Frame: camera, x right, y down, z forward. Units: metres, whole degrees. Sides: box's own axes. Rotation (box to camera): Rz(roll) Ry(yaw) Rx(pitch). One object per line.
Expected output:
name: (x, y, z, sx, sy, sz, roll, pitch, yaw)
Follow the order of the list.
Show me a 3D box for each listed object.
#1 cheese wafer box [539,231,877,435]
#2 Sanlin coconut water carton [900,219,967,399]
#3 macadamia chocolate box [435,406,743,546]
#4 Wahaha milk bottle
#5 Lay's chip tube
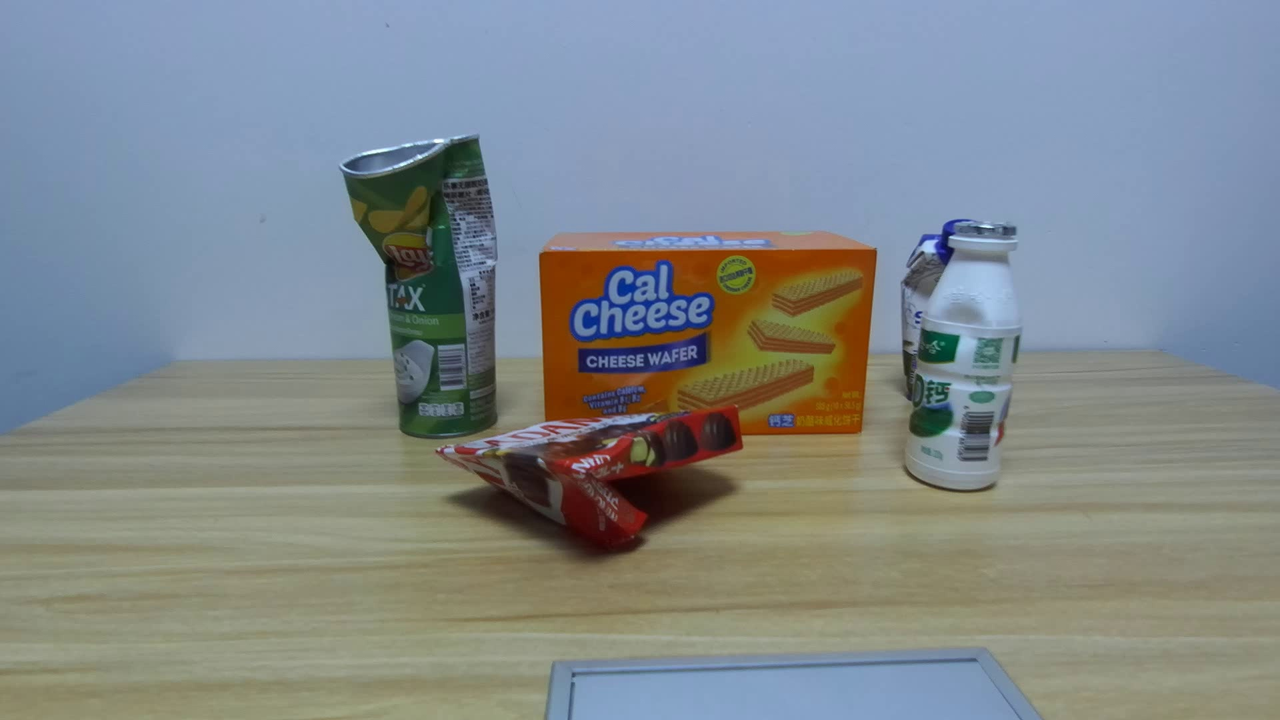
cheese wafer box: (0.044, -0.027, 0.532, 0.222, 0.129, 0.148, 0, 15, -2)
Sanlin coconut water carton: (0.233, -0.034, 0.523, 0.078, 0.142, 0.058, 4, 22, 16)
macadamia chocolate box: (-0.023, 0.050, 0.380, 0.111, 0.056, 0.127, 15, 20, 41)
Wahaha milk bottle: (0.182, 0.004, 0.398, 0.053, 0.136, 0.053, 2, 14, 0)
Lay's chip tube: (-0.141, -0.045, 0.478, 0.079, 0.199, 0.071, 3, 23, 14)
